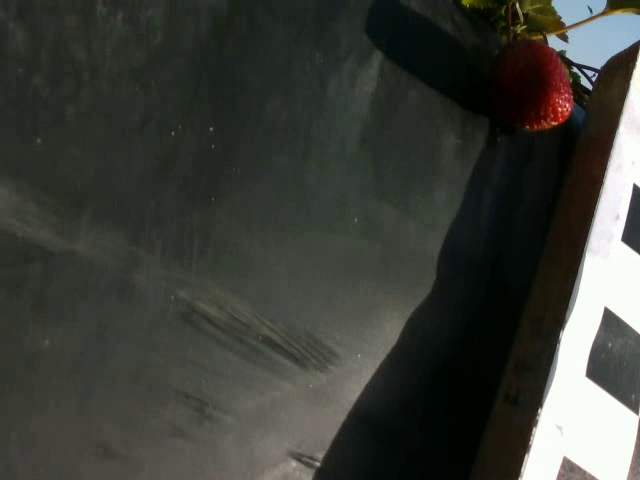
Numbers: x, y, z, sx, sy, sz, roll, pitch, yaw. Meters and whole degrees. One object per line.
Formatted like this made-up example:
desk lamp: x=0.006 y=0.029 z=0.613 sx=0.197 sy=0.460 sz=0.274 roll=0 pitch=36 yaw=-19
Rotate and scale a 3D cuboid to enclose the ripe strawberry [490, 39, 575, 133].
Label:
ripe strawberry: x=0.060 y=-0.040 z=0.205 sx=0.034 sy=0.033 sz=0.038 roll=34 pitch=10 yaw=-17
